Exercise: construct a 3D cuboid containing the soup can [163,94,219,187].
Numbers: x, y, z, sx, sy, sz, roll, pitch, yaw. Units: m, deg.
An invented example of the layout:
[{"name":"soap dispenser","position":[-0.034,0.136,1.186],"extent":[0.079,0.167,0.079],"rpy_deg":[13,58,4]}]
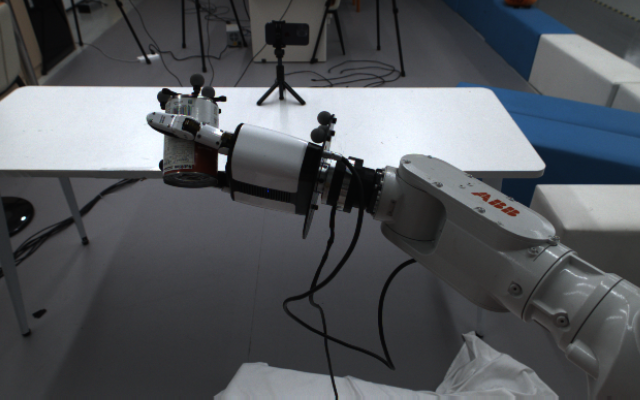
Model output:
[{"name":"soup can","position":[-0.161,-0.071,0.606],"extent":[0.067,0.067,0.101],"rpy_deg":[-1,77,-5]}]
